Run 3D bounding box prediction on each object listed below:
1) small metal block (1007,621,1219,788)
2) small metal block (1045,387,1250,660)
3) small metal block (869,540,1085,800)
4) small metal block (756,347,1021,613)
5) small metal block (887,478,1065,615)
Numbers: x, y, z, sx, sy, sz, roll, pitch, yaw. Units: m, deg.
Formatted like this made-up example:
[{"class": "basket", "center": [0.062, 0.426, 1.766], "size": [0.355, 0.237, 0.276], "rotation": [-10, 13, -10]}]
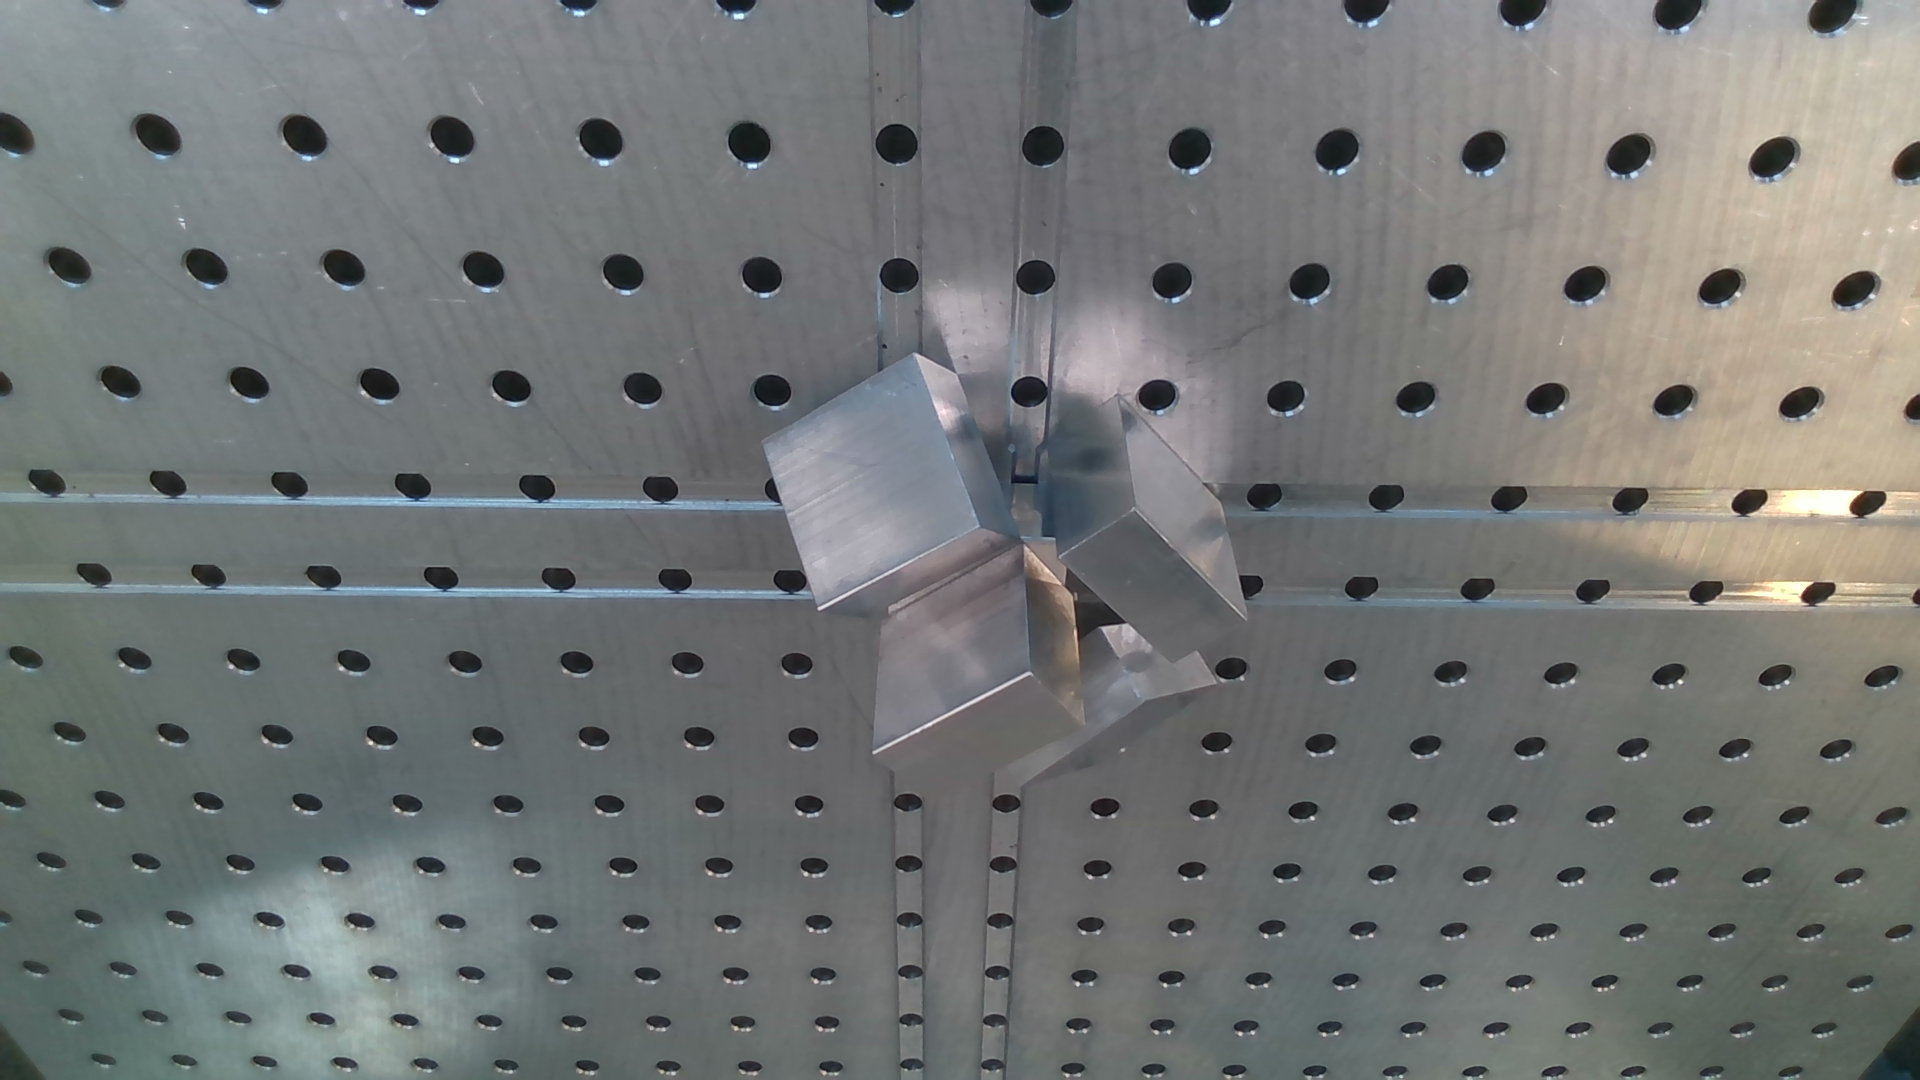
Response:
[{"class": "small metal block", "center": [0.042, 0.048, 0.414], "size": [0.050, 0.025, 0.050], "rotation": [-40, 159, 28]}, {"class": "small metal block", "center": [0.050, -0.005, 0.371], "size": [0.025, 0.050, 0.050], "rotation": [-34, 122, 25]}, {"class": "small metal block", "center": [0.004, 0.034, 0.371], "size": [0.050, 0.050, 0.025], "rotation": [-29, 125, 23]}, {"class": "small metal block", "center": [-0.019, -0.014, 0.359], "size": [0.050, 0.050, 0.025], "rotation": [-27, 162, 21]}, {"class": "small metal block", "center": [0.004, 0.009, 0.398], "size": [0.050, 0.025, 0.050], "rotation": [0, 131, -1]}]
